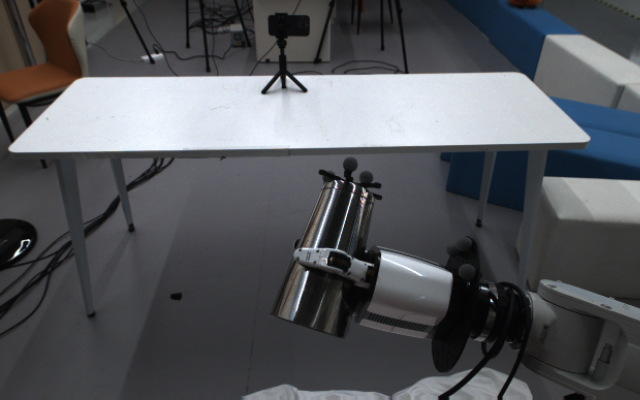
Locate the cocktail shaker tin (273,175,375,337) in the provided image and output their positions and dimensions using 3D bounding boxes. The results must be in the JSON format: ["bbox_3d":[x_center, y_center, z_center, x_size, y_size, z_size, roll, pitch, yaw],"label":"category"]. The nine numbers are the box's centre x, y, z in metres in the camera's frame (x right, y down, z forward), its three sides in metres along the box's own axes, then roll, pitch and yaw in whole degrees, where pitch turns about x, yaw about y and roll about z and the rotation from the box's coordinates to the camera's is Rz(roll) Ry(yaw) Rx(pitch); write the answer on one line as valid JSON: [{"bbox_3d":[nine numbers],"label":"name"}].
[{"bbox_3d":[0.010,0.067,0.573,0.093,0.093,0.170,14,74,17],"label":"cocktail shaker tin"}]
